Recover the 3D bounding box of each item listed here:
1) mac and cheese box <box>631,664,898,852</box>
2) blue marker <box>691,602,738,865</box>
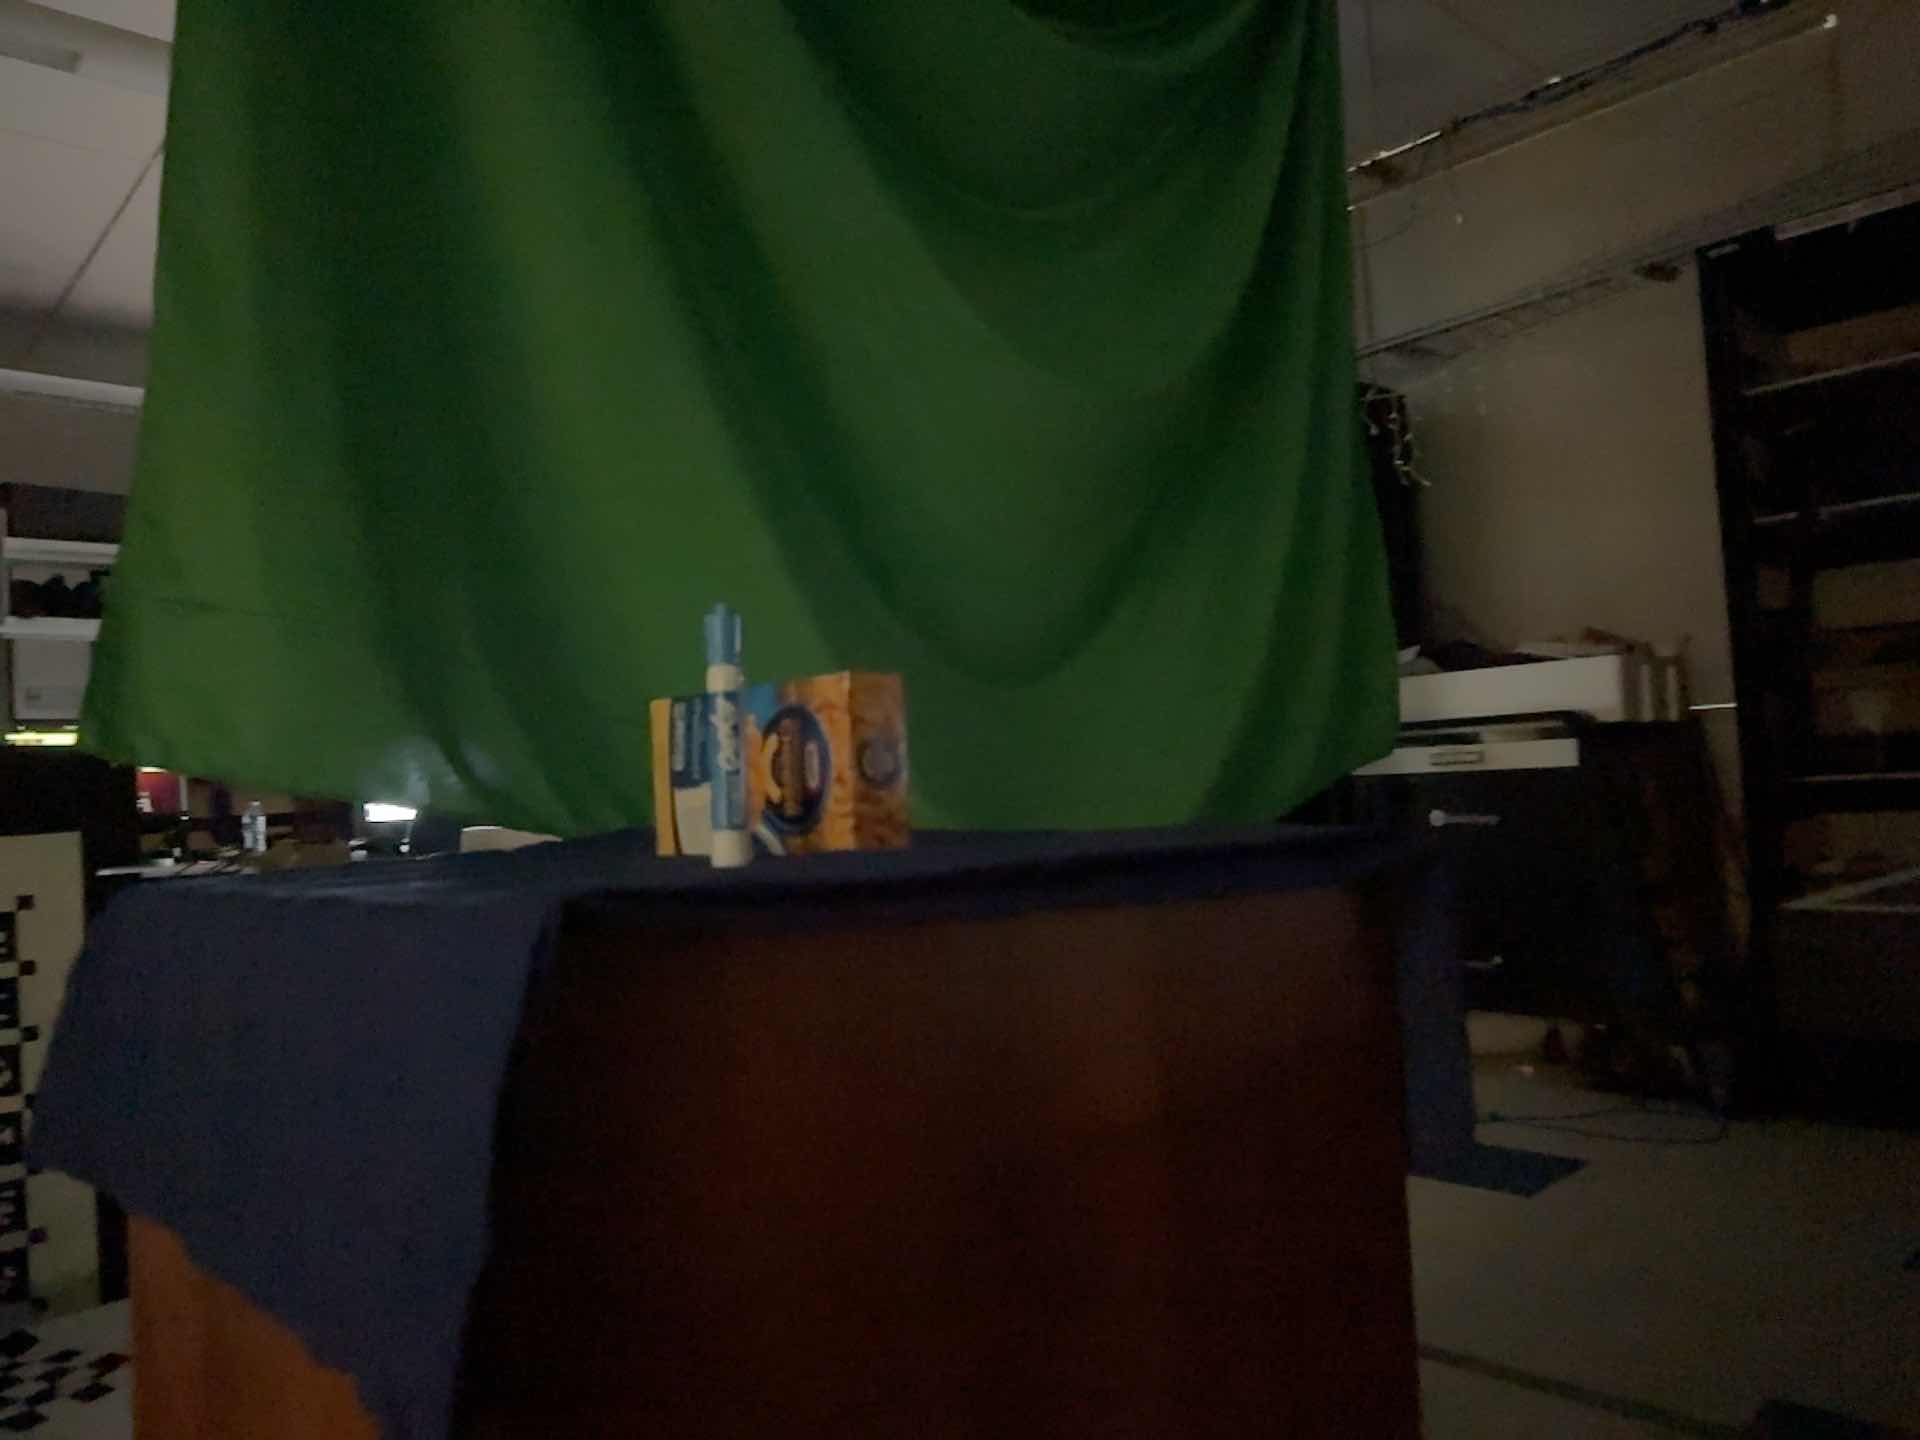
[{"bbox_3d":[-0.110,0.023,0.720,0.035,0.088,0.181,0,-4,-45],"label":"mac and cheese box"},{"bbox_3d":[-0.114,0.006,0.626,0.020,0.121,0.020,-2,-2,0],"label":"blue marker"}]
